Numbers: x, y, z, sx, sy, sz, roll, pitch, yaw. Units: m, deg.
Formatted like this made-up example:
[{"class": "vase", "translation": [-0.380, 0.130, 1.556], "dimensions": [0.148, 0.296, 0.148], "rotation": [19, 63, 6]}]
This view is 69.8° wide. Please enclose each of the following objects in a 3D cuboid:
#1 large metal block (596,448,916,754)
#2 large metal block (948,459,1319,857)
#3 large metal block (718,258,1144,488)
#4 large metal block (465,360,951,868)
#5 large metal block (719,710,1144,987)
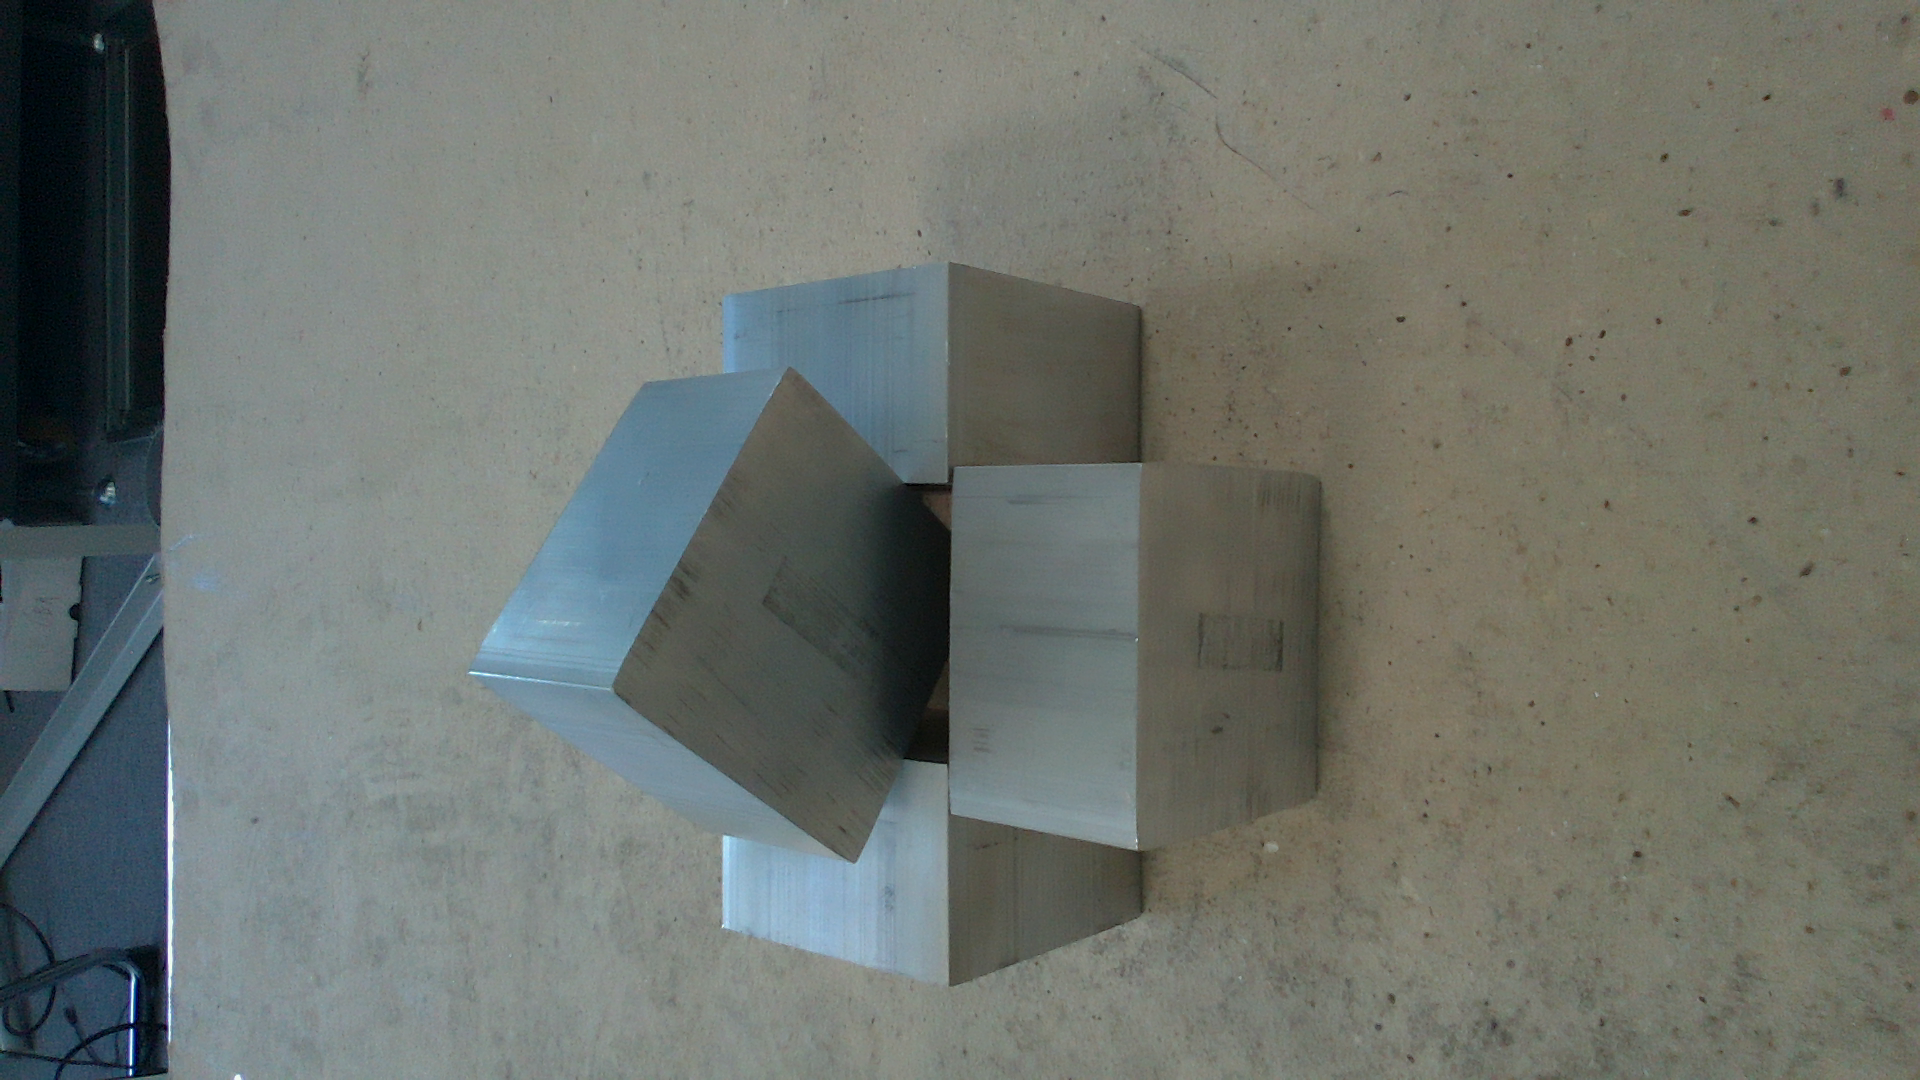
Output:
[{"class": "large metal block", "translation": [-0.059, 0.016, 0.407], "dimensions": [0.050, 0.080, 0.080], "rotation": [0, 90, 40]}, {"class": "large metal block", "translation": [0.043, 0.023, 0.323], "dimensions": [0.050, 0.080, 0.080], "rotation": [1, 91, 40]}, {"class": "large metal block", "translation": [-0.007, -0.039, 0.365], "dimensions": [0.080, 0.080, 0.050], "rotation": [1, 91, 40]}, {"class": "large metal block", "translation": [-0.048, 0.017, 0.314], "dimensions": [0.050, 0.080, 0.080], "rotation": [1, 56, 40]}, {"class": "large metal block", "translation": [-0.007, 0.076, 0.365], "dimensions": [0.080, 0.080, 0.050], "rotation": [0, 90, 40]}]
